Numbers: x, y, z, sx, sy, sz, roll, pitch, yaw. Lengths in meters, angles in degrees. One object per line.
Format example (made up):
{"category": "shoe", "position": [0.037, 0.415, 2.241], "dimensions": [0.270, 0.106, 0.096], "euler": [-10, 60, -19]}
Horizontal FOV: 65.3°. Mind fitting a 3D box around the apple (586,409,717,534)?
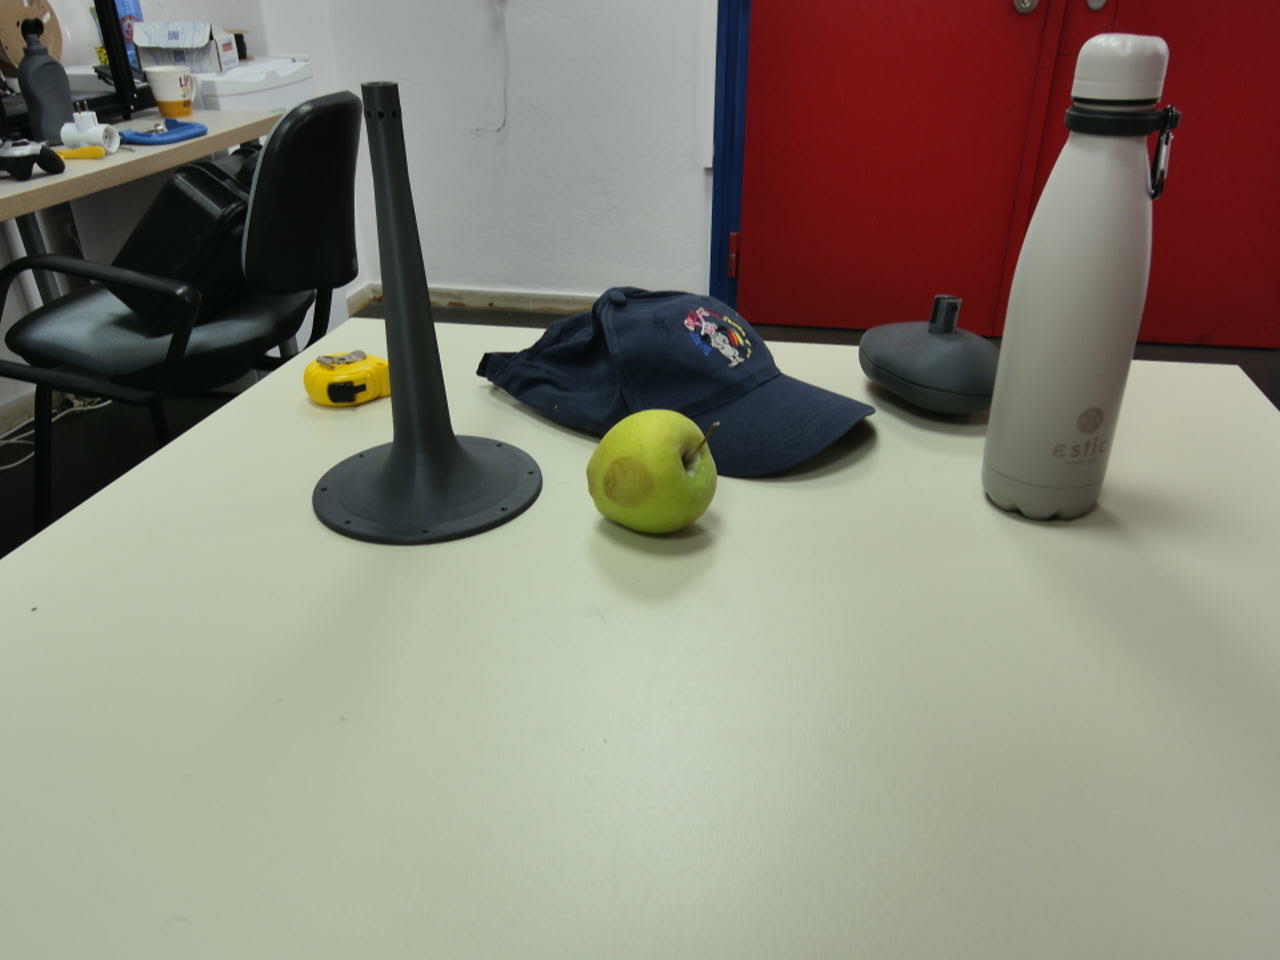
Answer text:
{"category": "apple", "position": [0.008, -0.006, 0.612], "dimensions": [0.072, 0.075, 0.077], "euler": [-19, 31, -30]}
